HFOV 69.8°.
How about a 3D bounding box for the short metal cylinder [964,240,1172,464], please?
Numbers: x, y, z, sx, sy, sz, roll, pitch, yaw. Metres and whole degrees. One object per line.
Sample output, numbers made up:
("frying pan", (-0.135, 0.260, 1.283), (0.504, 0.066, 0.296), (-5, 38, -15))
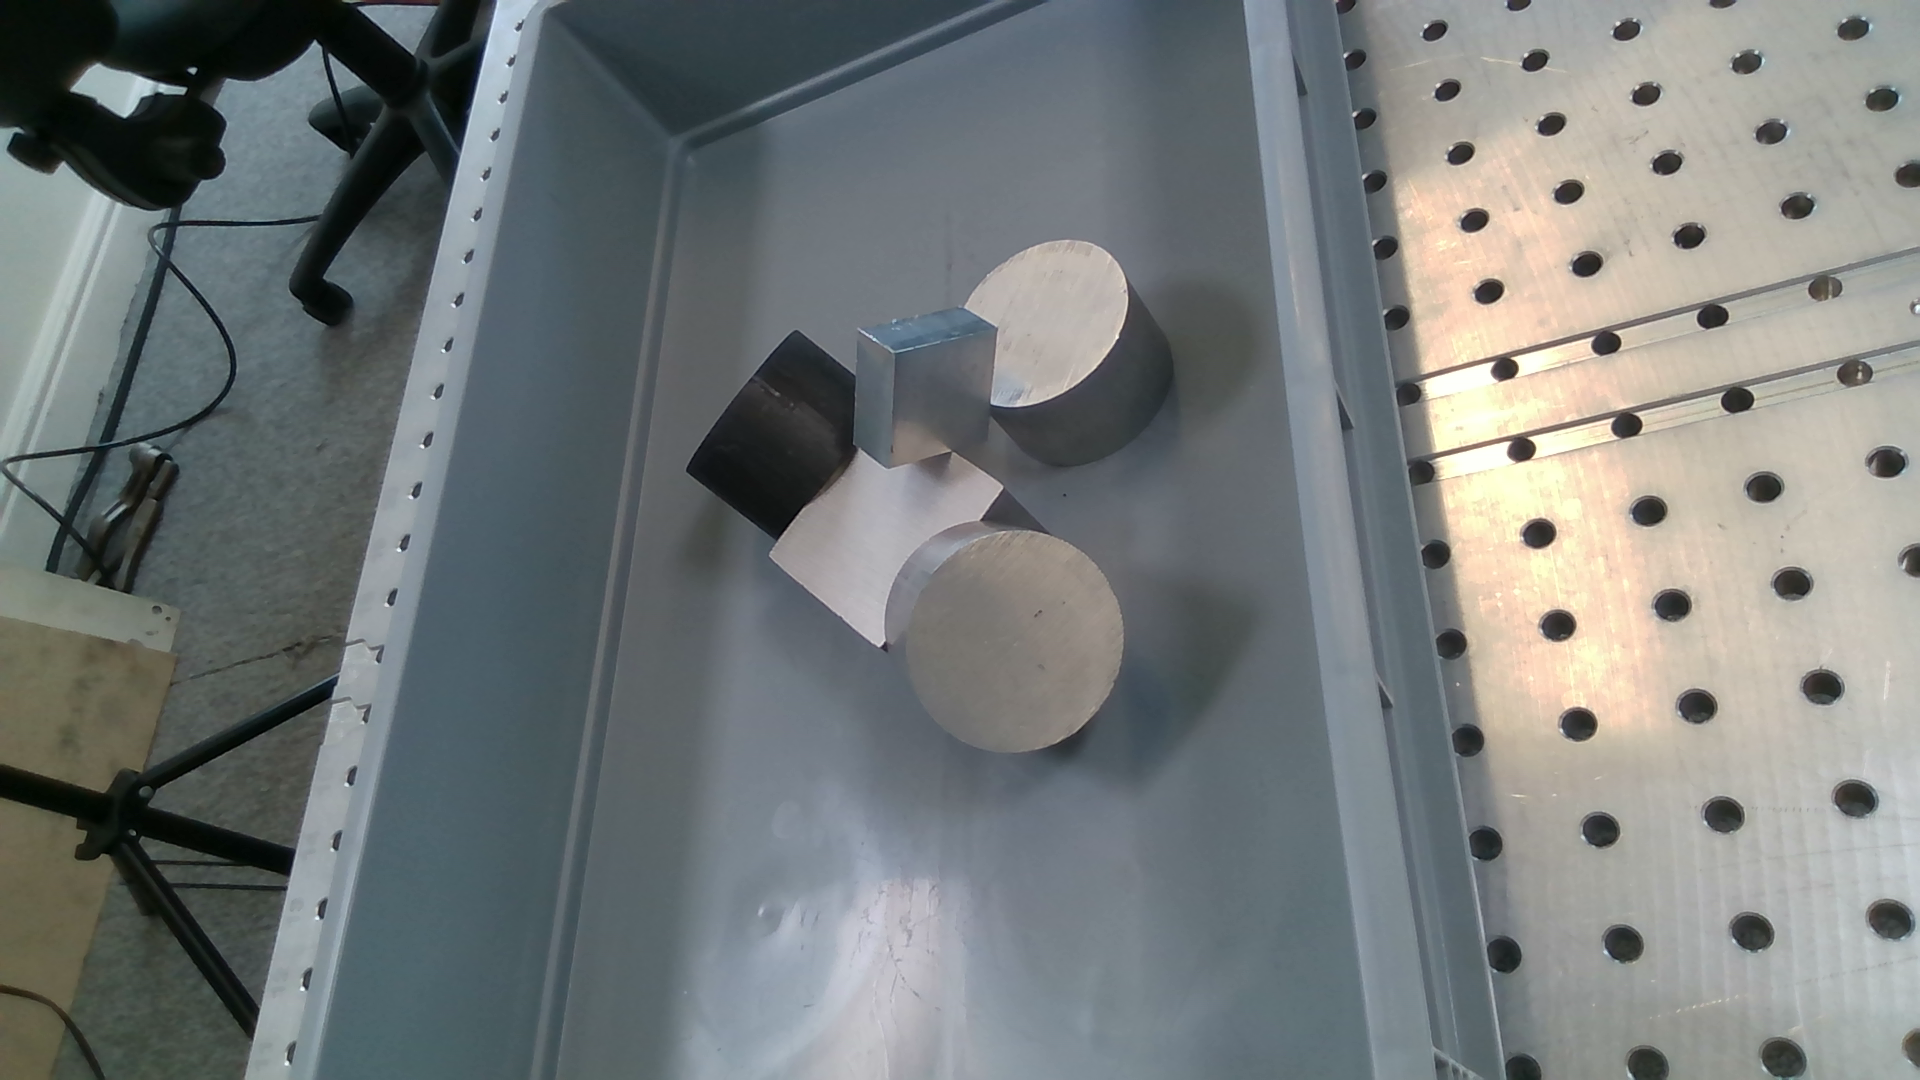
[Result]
("short metal cylinder", (0.043, -0.079, 0.584), (0.080, 0.050, 0.080), (-14, 59, 25))

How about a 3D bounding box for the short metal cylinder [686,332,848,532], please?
("short metal cylinder", (-0.078, -0.047, 0.614), (0.050, 0.080, 0.080), (38, 97, -6))

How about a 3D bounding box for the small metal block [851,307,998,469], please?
("small metal block", (-0.015, -0.061, 0.546), (0.050, 0.050, 0.025), (-19, 39, -33))

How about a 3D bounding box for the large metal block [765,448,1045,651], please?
("large metal block", (-0.021, 0.003, 0.577), (0.080, 0.050, 0.080), (36, 87, 39))

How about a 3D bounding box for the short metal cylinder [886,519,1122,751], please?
("short metal cylinder", (0.014, 0.034, 0.513), (0.080, 0.080, 0.050), (-53, 13, -3))
